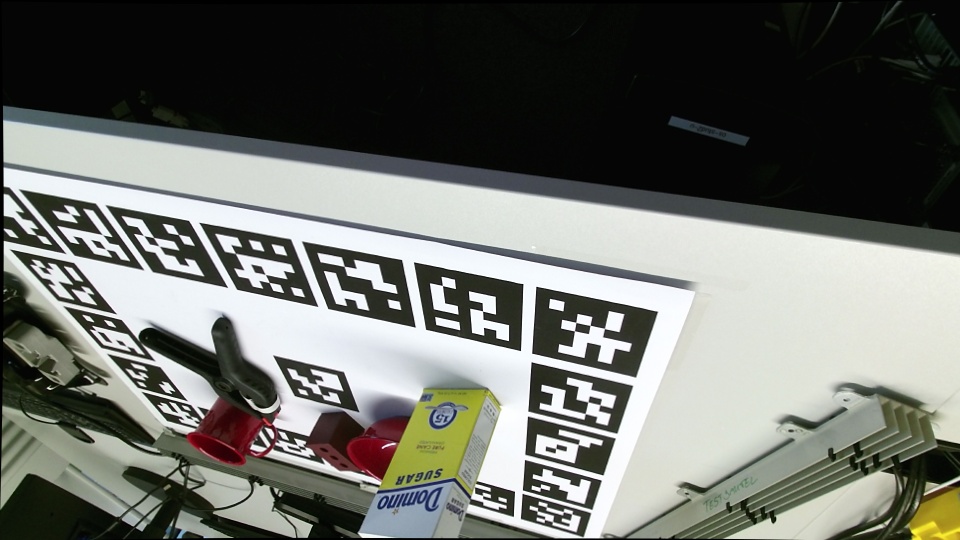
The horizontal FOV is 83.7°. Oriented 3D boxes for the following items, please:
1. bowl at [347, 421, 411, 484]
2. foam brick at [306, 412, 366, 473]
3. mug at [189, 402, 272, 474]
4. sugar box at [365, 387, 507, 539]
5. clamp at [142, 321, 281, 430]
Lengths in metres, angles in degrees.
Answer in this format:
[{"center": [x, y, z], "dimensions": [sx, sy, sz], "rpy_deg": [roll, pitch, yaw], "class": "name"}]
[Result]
[{"center": [-0.094, 0.255, 0.727], "dimensions": [0.162, 0.055, 0.162], "rpy_deg": [12, 134, 12], "class": "bowl"}, {"center": [-0.204, 0.249, 0.776], "dimensions": [0.053, 0.051, 0.078], "rpy_deg": [-13, 124, 29], "class": "foam brick"}, {"center": [-0.373, 0.253, 0.813], "dimensions": [0.117, 0.081, 0.093], "rpy_deg": [31, 135, -3], "class": "mug"}, {"center": [-0.042, 0.209, 0.578], "dimensions": [0.093, 0.176, 0.045], "rpy_deg": [-10, 125, 30], "class": "sugar box"}, {"center": [-0.339, 0.153, 0.732], "dimensions": [0.166, 0.036, 0.203], "rpy_deg": [-10, 126, 26], "class": "clamp"}]
